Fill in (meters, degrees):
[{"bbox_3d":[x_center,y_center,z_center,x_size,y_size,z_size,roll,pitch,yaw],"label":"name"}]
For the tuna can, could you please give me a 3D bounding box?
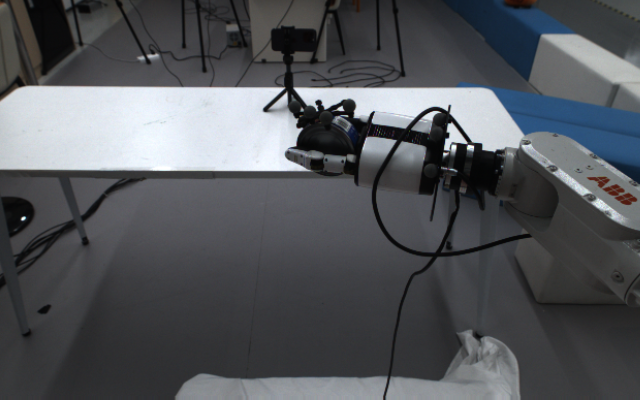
[{"bbox_3d":[0.013,-0.079,0.682,0.085,0.085,0.034,14,40,16],"label":"tuna can"}]
